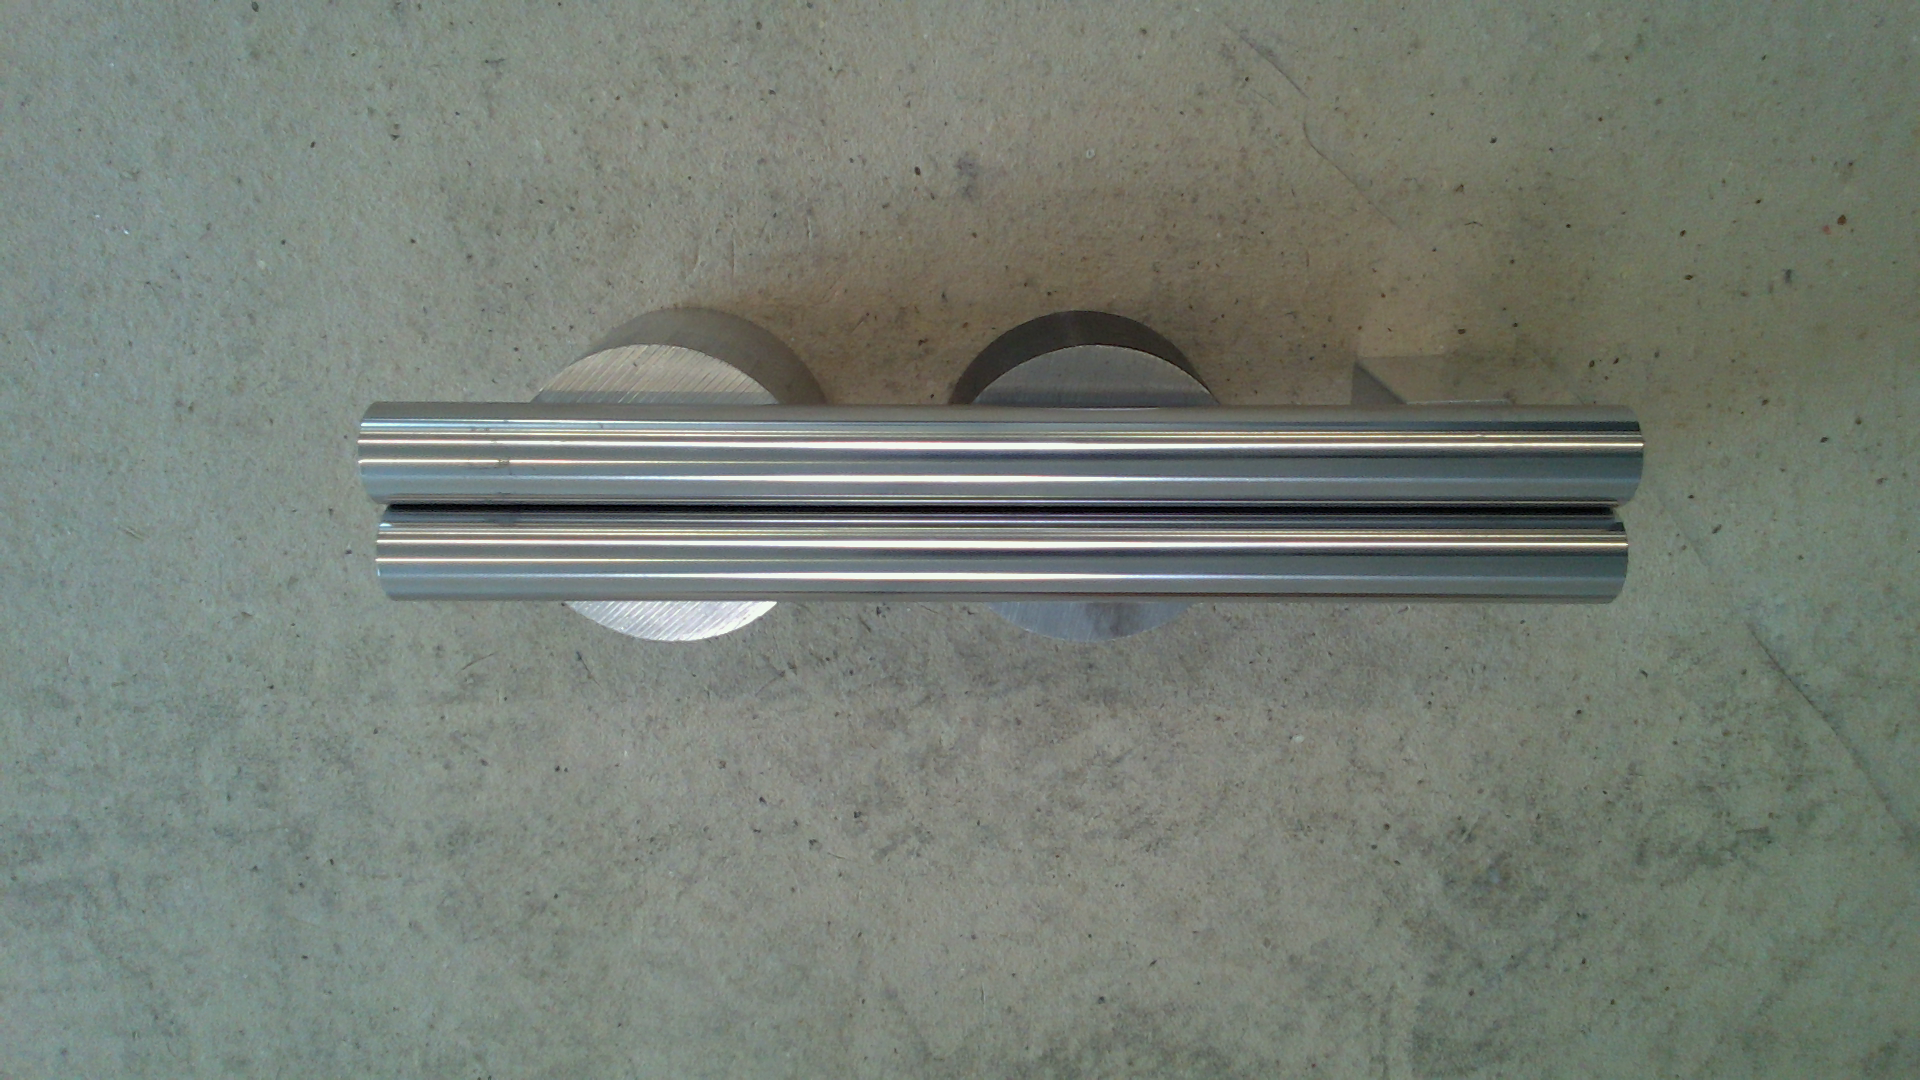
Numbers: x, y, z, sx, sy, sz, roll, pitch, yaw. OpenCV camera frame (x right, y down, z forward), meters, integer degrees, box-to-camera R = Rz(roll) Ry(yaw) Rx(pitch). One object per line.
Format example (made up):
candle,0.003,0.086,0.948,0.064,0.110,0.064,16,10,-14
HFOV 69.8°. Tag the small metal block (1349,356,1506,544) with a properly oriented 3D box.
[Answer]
small metal block,0.124,-0.020,0.375,0.025,0.050,0.050,-2,110,0

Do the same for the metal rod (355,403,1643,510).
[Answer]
metal rod,0.010,-0.020,0.333,0.300,0.025,0.025,0,110,0

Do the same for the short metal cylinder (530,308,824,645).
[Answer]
short metal cylinder,-0.076,-0.019,0.373,0.080,0.050,0.080,0,110,0

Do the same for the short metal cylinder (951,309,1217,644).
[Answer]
short metal cylinder,0.034,-0.019,0.375,0.080,0.050,0.080,0,110,0

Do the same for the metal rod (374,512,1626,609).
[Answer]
metal rod,0.010,0.004,0.342,0.300,0.025,0.025,0,110,0
